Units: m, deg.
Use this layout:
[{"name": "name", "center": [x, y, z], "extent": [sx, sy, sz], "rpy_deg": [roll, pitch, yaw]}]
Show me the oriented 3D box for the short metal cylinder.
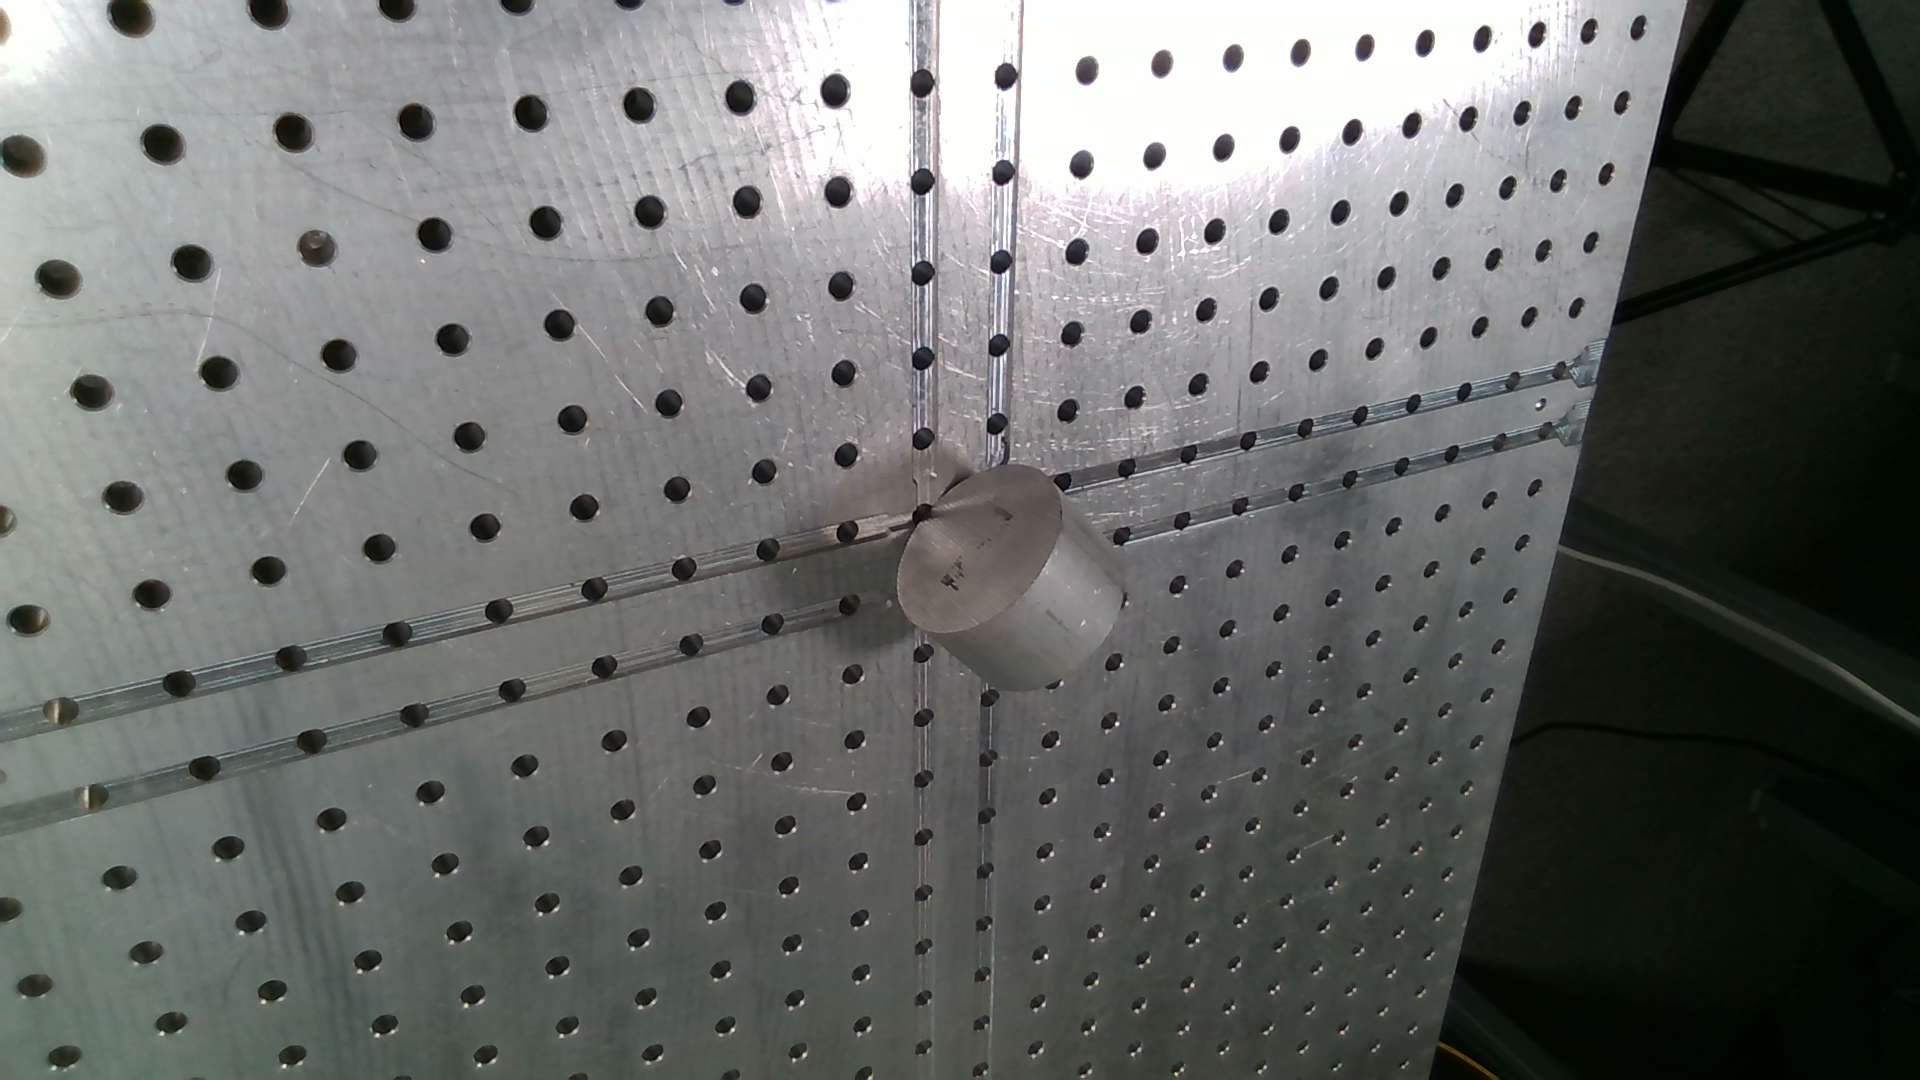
[{"name": "short metal cylinder", "center": [0.021, 0.015, 0.569], "extent": [0.080, 0.080, 0.050], "rpy_deg": [-48, 129, -1]}]
